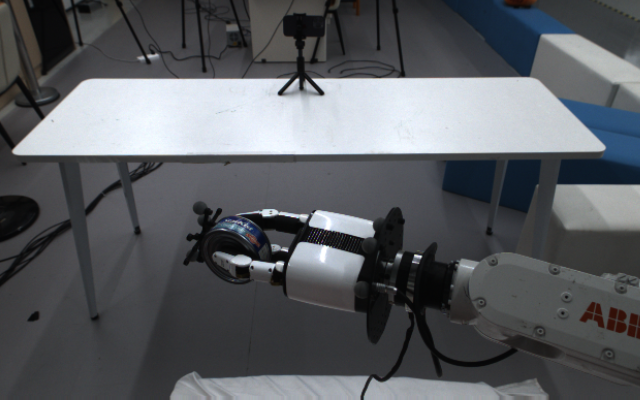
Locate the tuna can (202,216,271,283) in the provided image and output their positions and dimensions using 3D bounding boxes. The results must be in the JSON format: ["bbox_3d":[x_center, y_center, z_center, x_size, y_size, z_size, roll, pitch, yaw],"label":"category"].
[{"bbox_3d":[-0.104,0.067,0.612,0.085,0.085,0.034,12,30,15],"label":"tuna can"}]
